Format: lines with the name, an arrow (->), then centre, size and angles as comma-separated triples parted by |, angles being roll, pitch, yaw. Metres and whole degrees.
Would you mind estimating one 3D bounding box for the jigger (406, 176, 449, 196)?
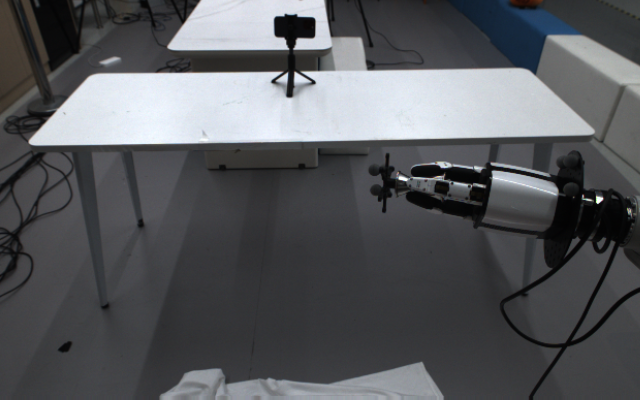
jigger -> 0.153, -0.026, 0.704 | 0.071, 0.043, 0.043 | 4, 34, 19
